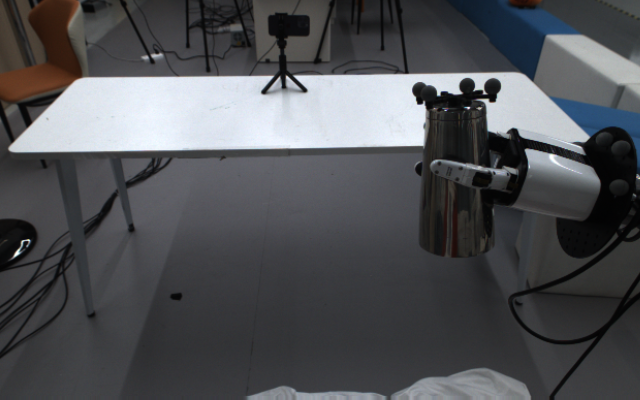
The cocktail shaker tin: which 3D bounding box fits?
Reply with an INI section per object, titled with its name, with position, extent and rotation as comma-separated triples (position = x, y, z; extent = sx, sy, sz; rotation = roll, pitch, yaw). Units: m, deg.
[cocktail shaker tin]
position = 0.163, -0.029, 0.577
extent = 0.093, 0.170, 0.093
rotation = -6, 19, 2
